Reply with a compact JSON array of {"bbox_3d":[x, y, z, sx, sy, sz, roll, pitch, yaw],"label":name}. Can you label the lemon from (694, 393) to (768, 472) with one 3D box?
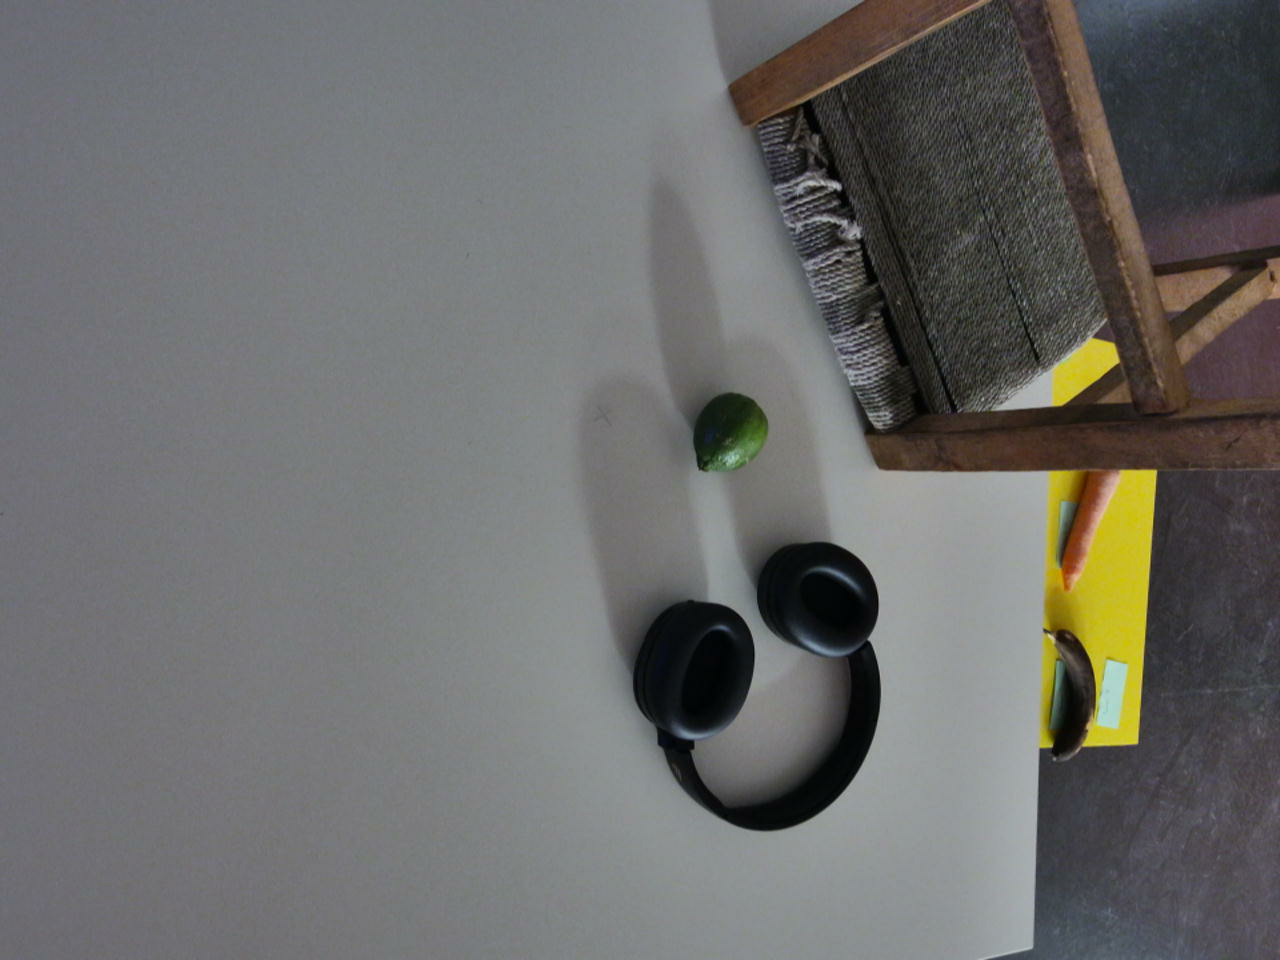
[{"bbox_3d":[0.067,-0.035,0.734,0.054,0.051,0.057,-1,91,-28],"label":"lemon"}]
